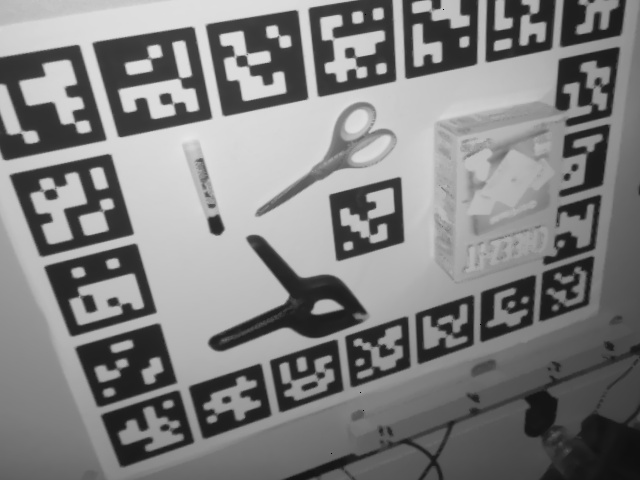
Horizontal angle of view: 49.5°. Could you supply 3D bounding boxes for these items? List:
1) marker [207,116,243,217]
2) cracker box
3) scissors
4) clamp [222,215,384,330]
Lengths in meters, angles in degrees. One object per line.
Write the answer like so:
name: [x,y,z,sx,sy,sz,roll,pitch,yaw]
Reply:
marker: [-0.106,-0.080,0.783,0.020,0.019,0.120,-16,121,-13]
cracker box: [0.264,-0.076,0.904,0.166,0.072,0.212,-12,119,-16]
scissors: [0.029,-0.107,0.825,0.202,0.016,0.088,-37,124,2]
clamp: [-0.005,0.064,0.905,0.205,0.036,0.164,17,110,-27]
